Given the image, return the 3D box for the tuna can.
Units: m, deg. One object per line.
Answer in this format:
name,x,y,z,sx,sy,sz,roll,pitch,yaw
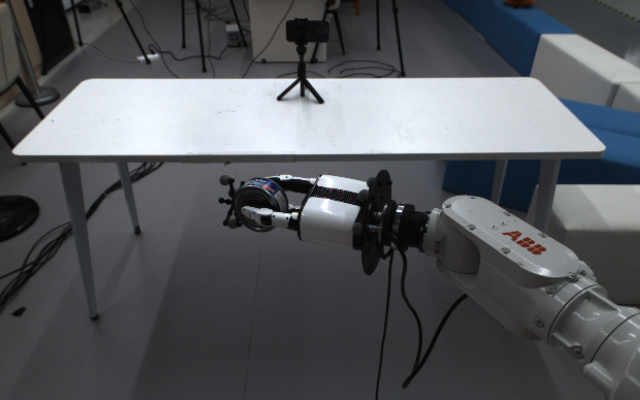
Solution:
tuna can,-0.095,0.007,0.778,0.085,0.085,0.034,12,29,14
